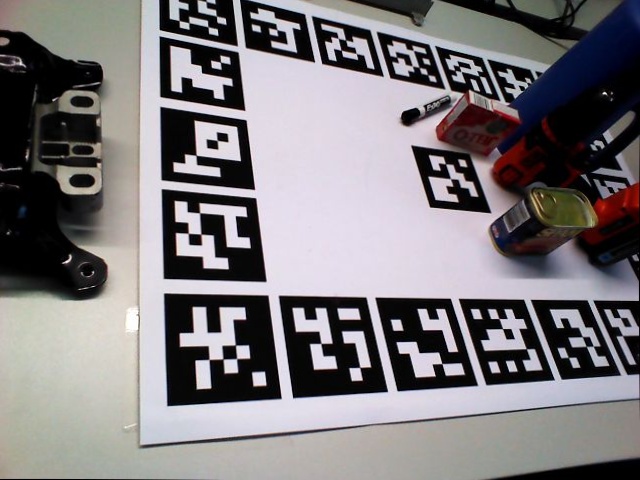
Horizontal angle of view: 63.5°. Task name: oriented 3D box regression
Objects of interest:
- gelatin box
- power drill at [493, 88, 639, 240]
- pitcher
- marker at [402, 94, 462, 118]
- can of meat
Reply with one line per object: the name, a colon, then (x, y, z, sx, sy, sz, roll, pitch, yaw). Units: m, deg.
gelatin box: (0.229, -0.159, 0.729, 0.089, 0.074, 0.030, 14, 61, -20)
power drill: (0.352, -0.092, 0.680, 0.187, 0.186, 0.057, 37, 55, -9)
pitcher: (0.390, -0.190, 0.727, 0.189, 0.244, 0.132, 28, 57, 0)
marker: (0.162, -0.198, 0.751, 0.120, 0.020, 0.019, -25, 75, -33)
can of meat: (0.282, -0.017, 0.661, 0.101, 0.084, 0.057, 3, 59, -25)
